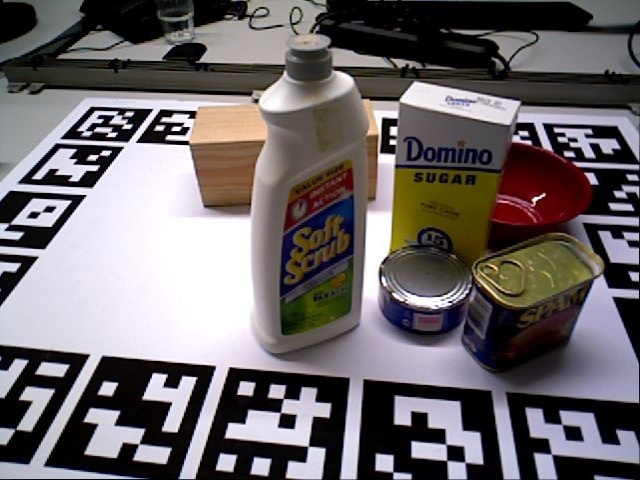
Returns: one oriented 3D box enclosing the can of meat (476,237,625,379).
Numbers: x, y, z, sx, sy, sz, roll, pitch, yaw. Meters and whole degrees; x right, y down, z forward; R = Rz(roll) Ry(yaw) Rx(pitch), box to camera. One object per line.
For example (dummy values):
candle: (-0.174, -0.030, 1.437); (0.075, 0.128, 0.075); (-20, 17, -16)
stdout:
can of meat: (0.179, 0.056, 0.436); (0.100, 0.085, 0.057); (-16, 39, -17)

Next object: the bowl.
bowl: (0.215, -0.043, 0.566); (0.161, 0.056, 0.159); (-5, 39, 3)

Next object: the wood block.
wood block: (-0.036, -0.097, 0.622); (0.205, 0.092, 0.089); (-2, 45, -1)

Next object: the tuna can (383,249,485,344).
tuna can: (0.098, 0.049, 0.477); (0.085, 0.034, 0.084); (-3, 43, 2)

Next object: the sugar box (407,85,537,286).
sugar box: (0.126, -0.044, 0.473); (0.093, 0.180, 0.044); (16, 45, 25)

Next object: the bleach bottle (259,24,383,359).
bleach bottle: (-0.006, -0.023, 0.403); (0.101, 0.256, 0.067); (-13, 41, -13)
